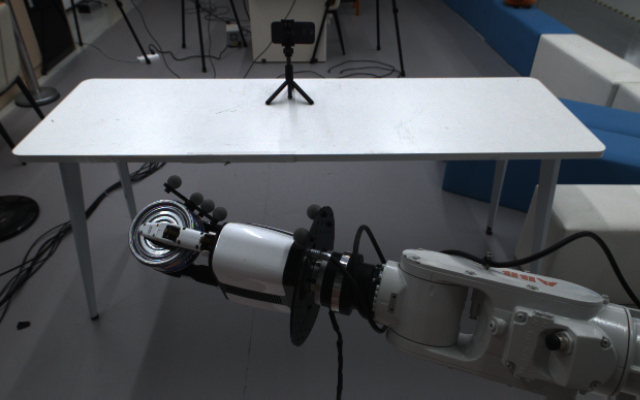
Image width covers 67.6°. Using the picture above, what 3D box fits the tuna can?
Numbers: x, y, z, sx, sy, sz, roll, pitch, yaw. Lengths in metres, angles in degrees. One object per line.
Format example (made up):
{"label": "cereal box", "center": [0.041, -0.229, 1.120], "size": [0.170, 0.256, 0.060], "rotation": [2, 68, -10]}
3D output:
{"label": "tuna can", "center": [-0.183, 0.049, 0.586], "size": [0.085, 0.034, 0.085], "rotation": [-4, 69, 10]}
